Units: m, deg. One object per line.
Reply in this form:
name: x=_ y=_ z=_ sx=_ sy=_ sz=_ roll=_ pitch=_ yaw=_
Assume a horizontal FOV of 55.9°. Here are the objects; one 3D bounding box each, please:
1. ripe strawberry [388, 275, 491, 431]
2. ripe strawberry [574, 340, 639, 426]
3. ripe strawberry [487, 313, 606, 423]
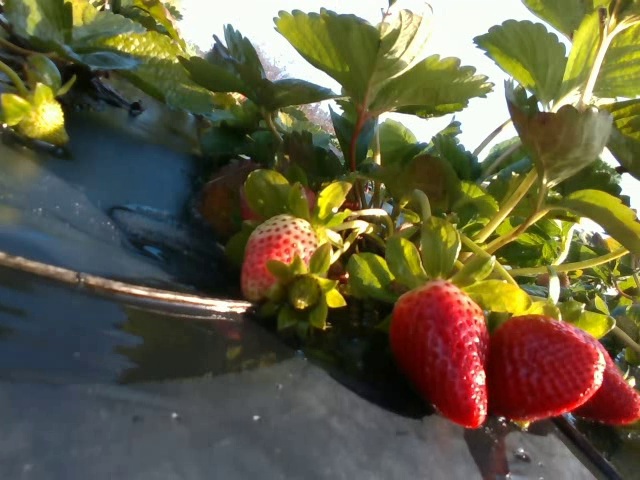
ripe strawberry: x=0.036 y=0.029 z=0.160 sx=0.031 sy=0.046 sz=0.023 roll=20 pitch=-53 yaw=-27
ripe strawberry: x=0.085 y=0.045 z=0.185 sx=0.035 sy=0.034 sz=0.041 roll=17 pitch=3 yaw=-30
ripe strawberry: x=0.064 y=0.034 z=0.169 sx=0.030 sy=0.037 sz=0.039 roll=29 pitch=-16 yaw=-21
